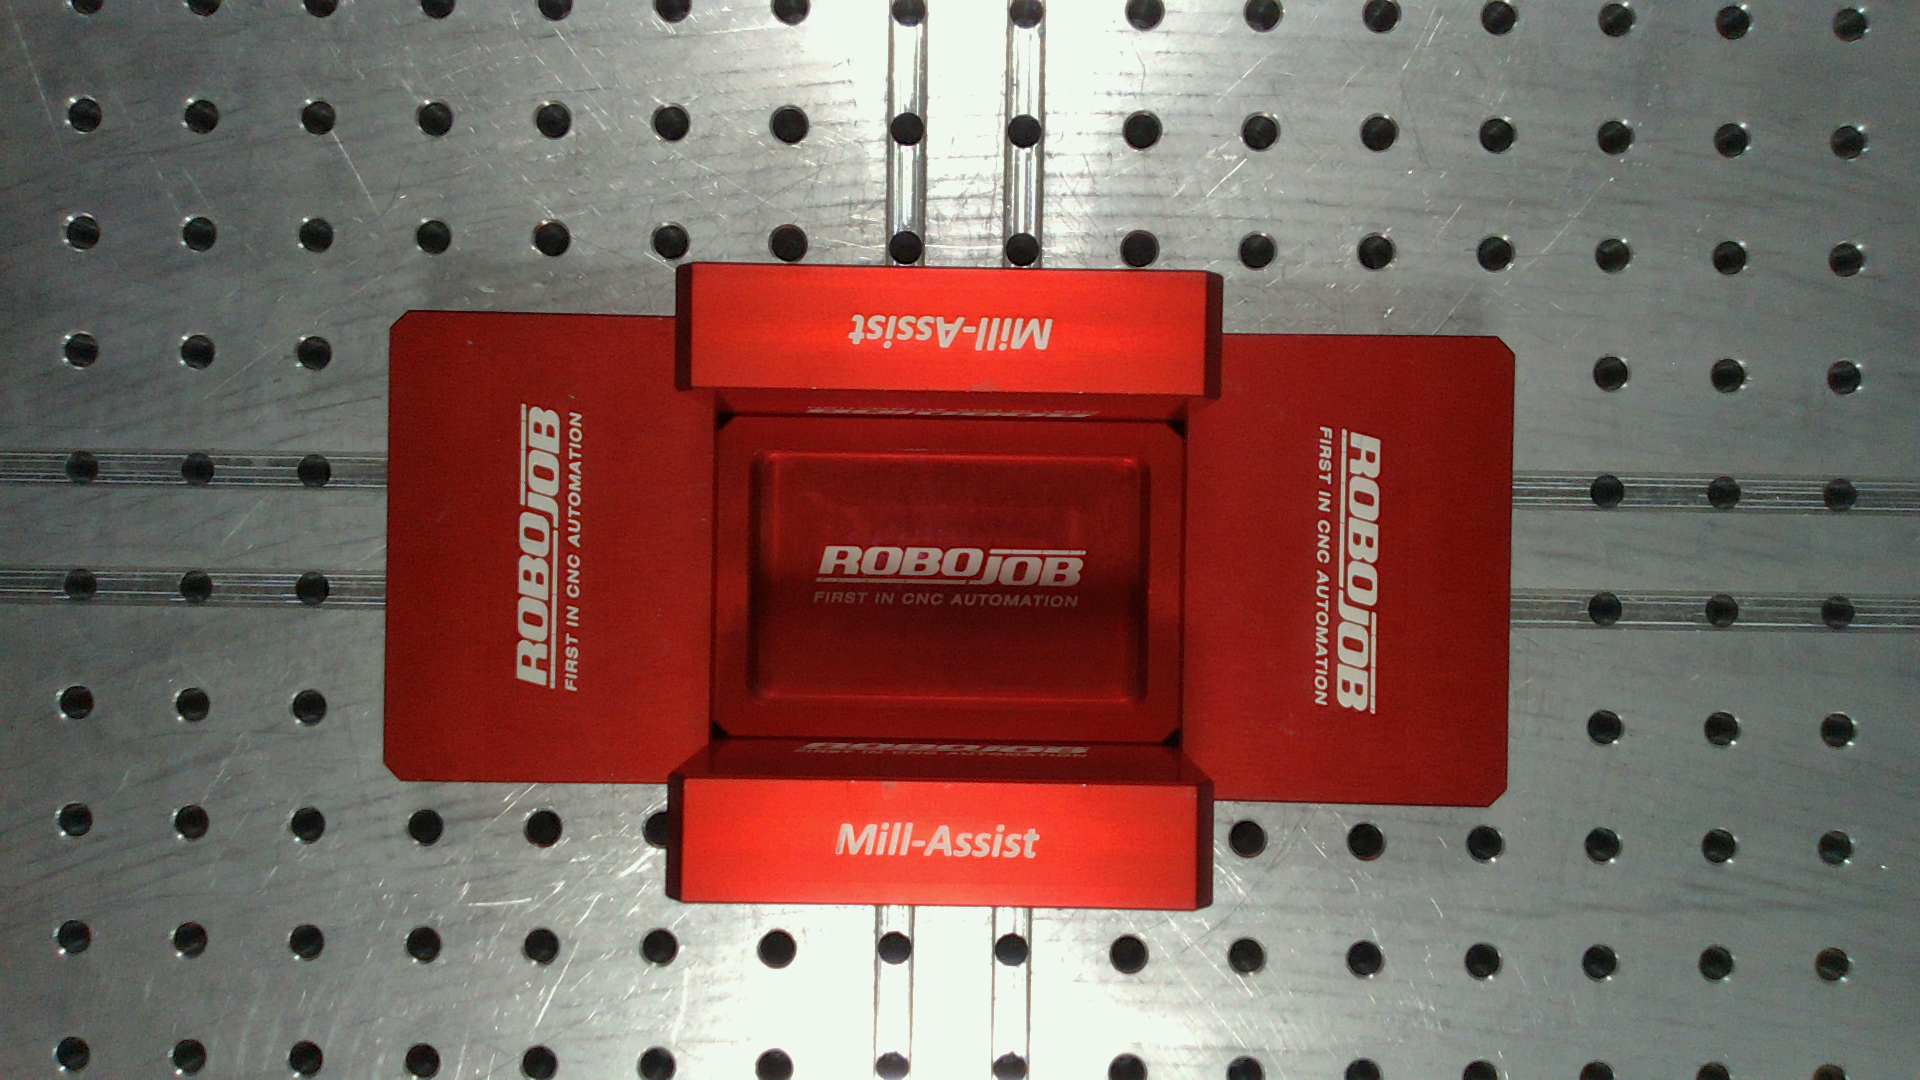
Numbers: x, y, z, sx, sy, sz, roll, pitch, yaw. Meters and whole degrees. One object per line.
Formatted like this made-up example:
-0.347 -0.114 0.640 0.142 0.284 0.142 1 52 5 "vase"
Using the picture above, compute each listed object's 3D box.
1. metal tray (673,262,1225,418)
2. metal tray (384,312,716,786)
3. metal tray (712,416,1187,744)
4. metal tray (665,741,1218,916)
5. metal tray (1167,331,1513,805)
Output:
-0.002 -0.049 0.365 0.130 0.090 0.030 1 90 0 "metal tray"
-0.113 0.003 0.394 0.090 0.030 0.130 1 90 0 "metal tray"
-0.003 0.011 0.393 0.130 0.030 0.090 1 90 0 "metal tray"
-0.004 0.072 0.364 0.130 0.090 0.030 1 90 0 "metal tray"
0.107 0.008 0.394 0.090 0.030 0.130 1 90 -1 "metal tray"
